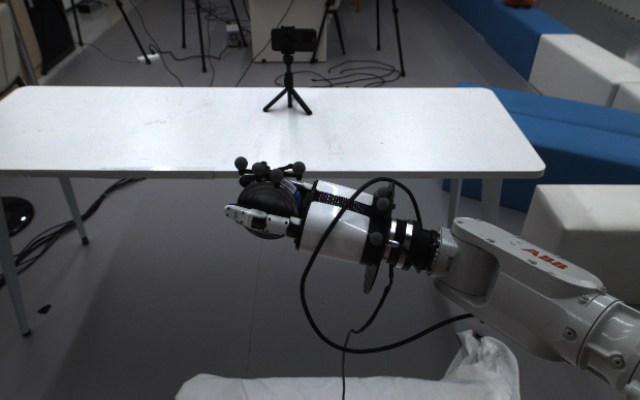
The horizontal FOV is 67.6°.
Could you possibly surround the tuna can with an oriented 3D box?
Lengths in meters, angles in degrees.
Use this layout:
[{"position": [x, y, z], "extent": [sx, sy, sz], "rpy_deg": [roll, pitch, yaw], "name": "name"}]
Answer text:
[{"position": [-0.066, 0.009, 0.663], "extent": [0.085, 0.085, 0.034], "rpy_deg": [9, 23, 9], "name": "tuna can"}]
